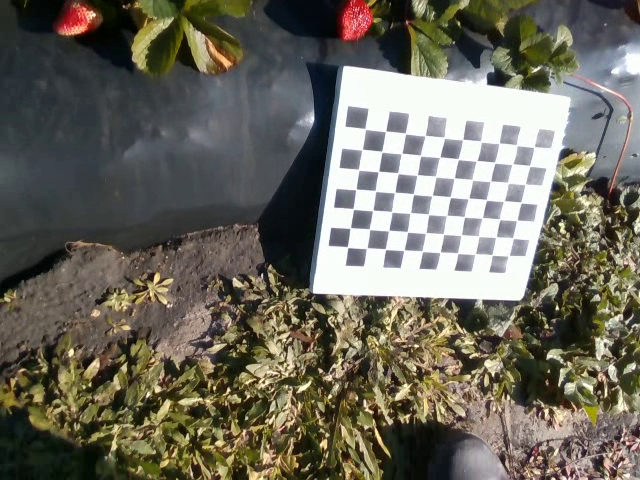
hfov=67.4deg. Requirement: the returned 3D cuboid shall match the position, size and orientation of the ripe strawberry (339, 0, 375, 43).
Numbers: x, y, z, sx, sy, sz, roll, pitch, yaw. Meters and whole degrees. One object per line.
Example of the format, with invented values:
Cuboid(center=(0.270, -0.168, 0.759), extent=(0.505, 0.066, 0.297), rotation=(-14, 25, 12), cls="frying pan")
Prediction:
Cuboid(center=(0.026, -0.240, 0.480), extent=(0.058, 0.065, 0.061), rotation=(-30, 26, 28), cls="ripe strawberry")
